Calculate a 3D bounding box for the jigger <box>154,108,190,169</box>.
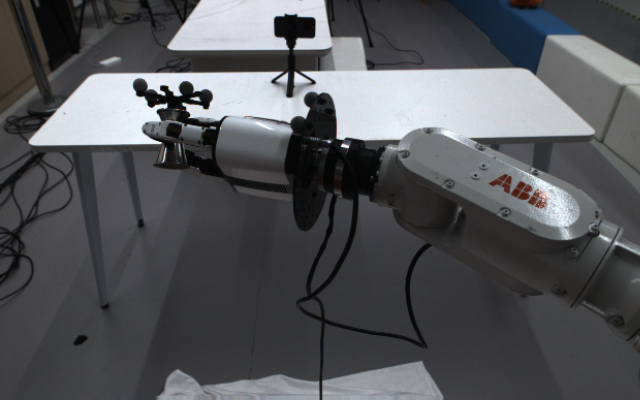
[{"bbox_3d":[-0.182,-0.074,0.597,0.043,0.071,0.043,0,-4,0],"label":"jigger"}]
